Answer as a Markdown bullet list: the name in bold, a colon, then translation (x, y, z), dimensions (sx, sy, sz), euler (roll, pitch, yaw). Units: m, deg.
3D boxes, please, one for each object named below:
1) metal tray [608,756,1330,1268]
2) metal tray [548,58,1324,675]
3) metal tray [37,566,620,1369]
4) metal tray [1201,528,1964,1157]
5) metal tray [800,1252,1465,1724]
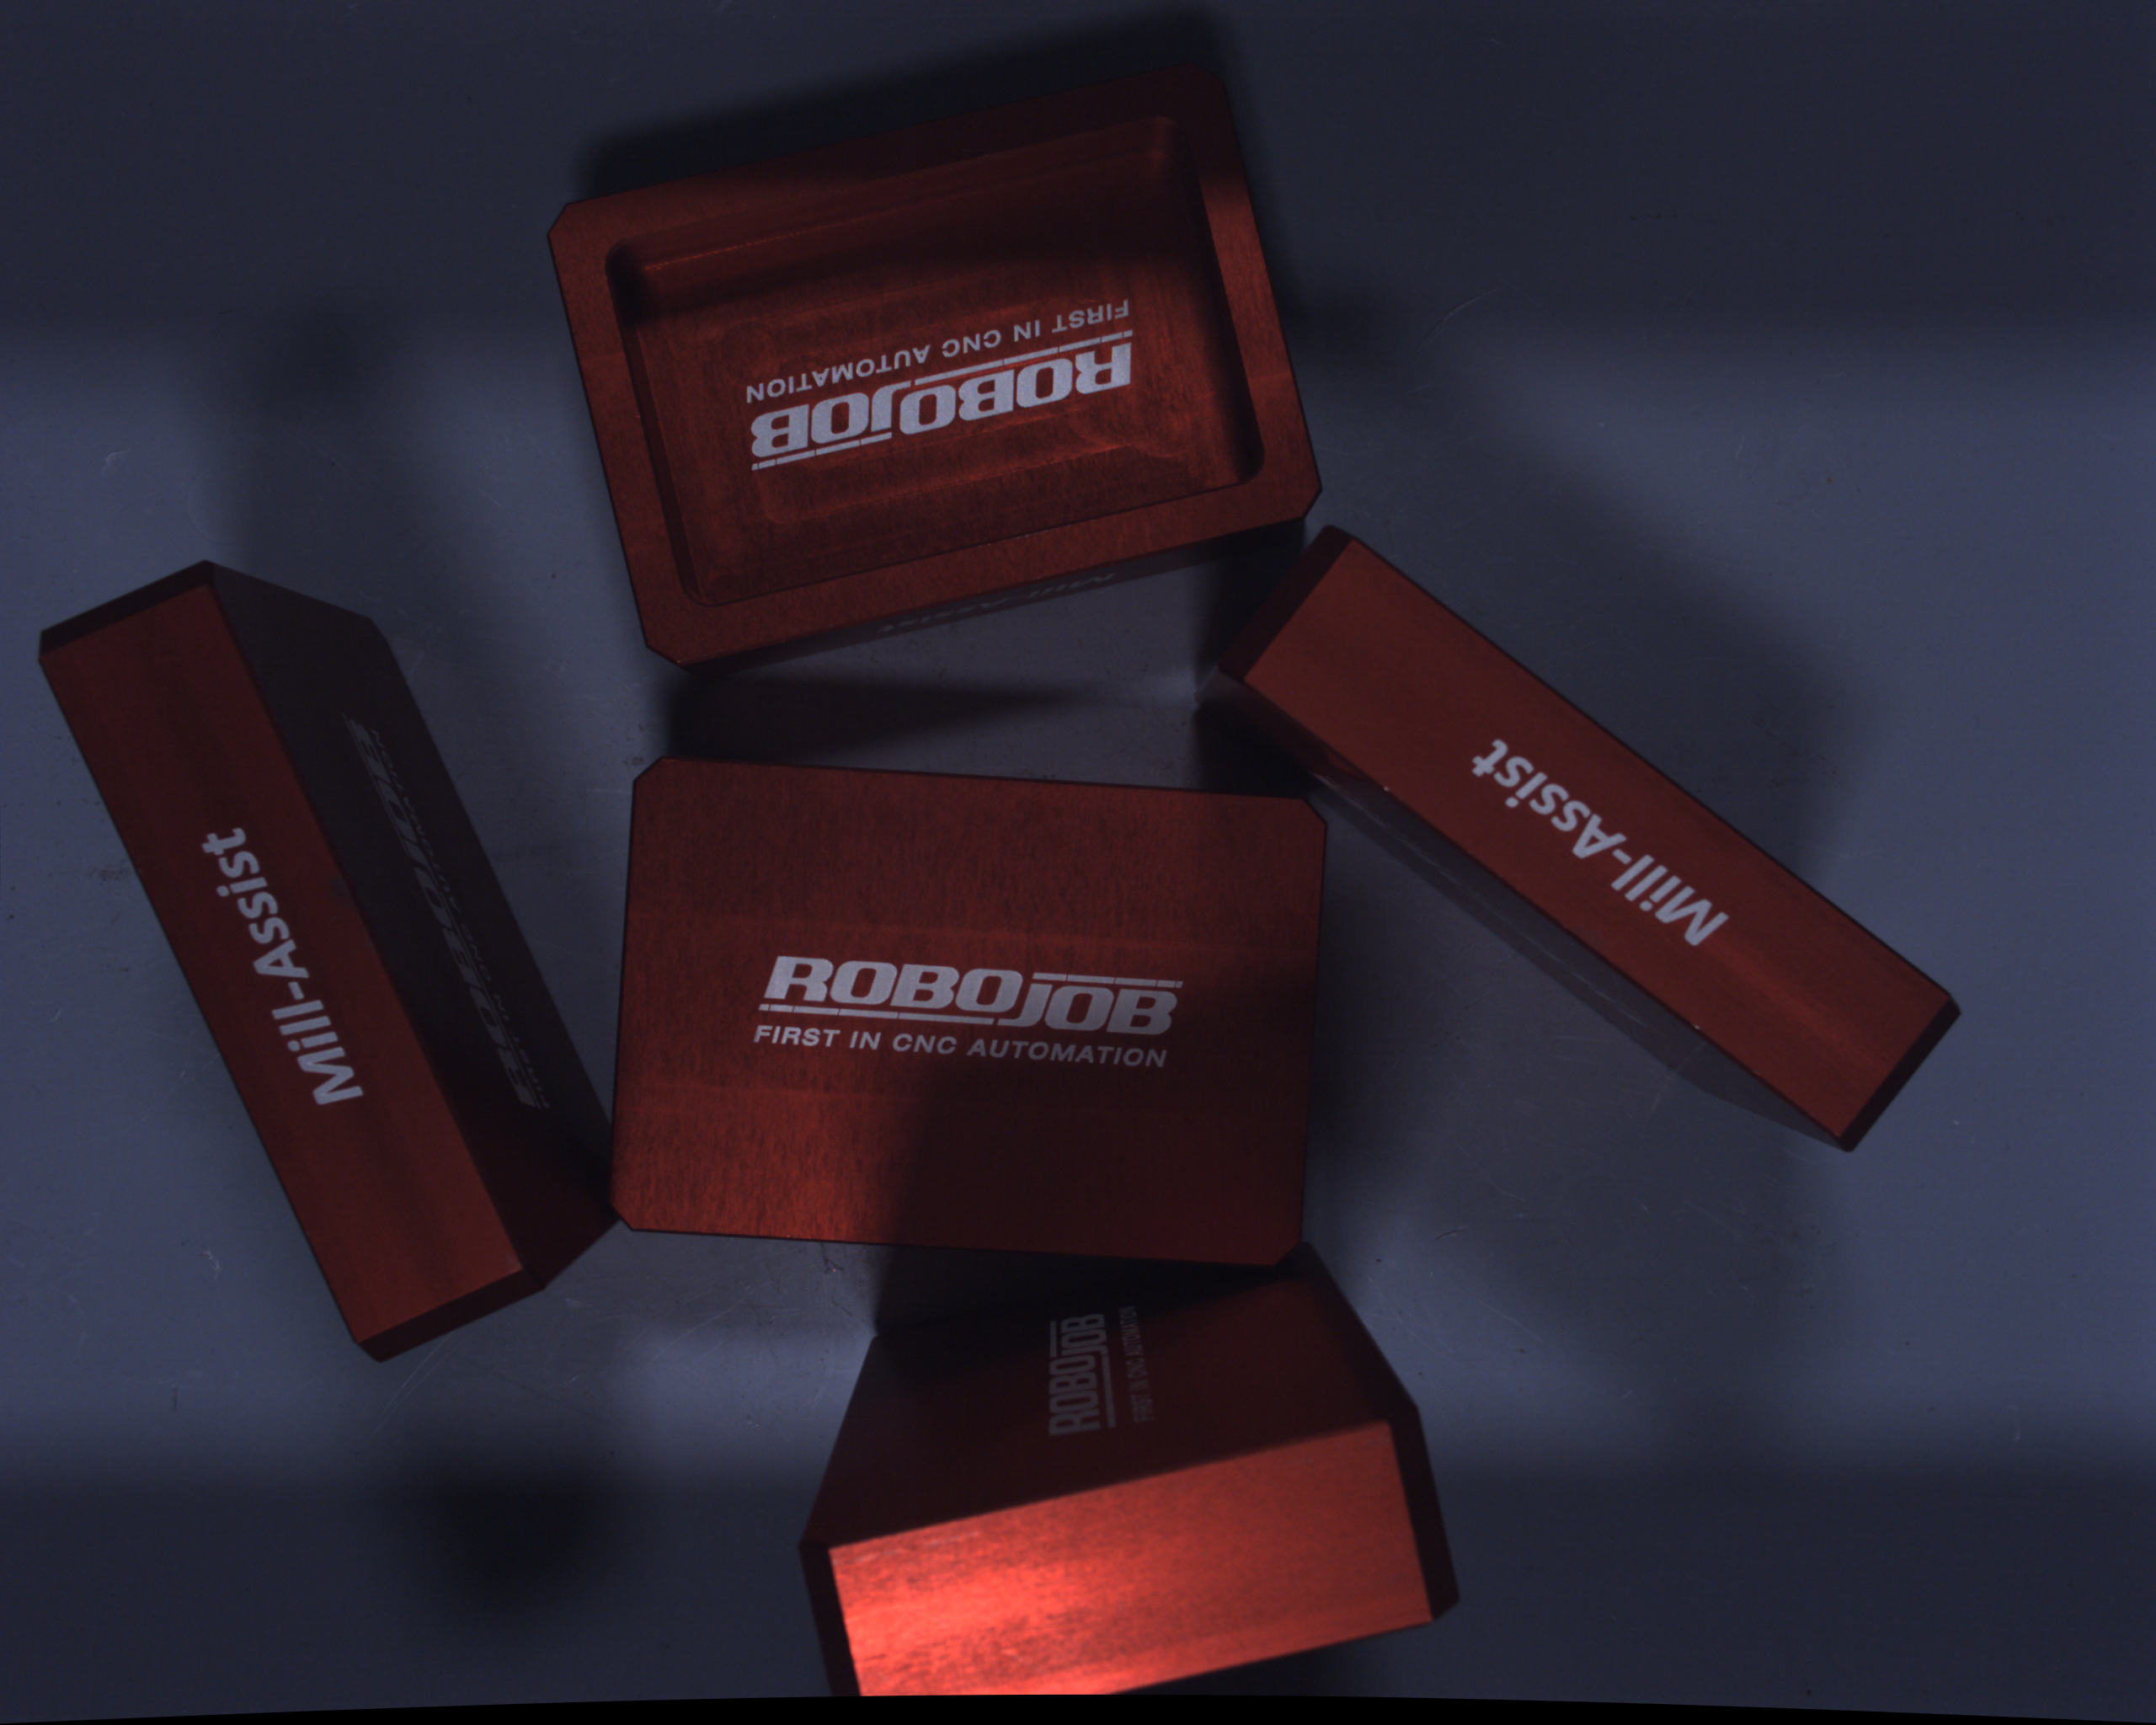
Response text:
- **metal tray**: translation (-0.020, 0.028, 0.406), dimensions (0.131, 0.030, 0.089), euler (3, 90, -1)
- **metal tray**: translation (-0.027, -0.095, 0.407), dimensions (0.131, 0.030, 0.089), euler (-13, 90, -1)
- **metal tray**: translation (-0.127, 0.017, 0.375), dimensions (0.030, 0.090, 0.129), euler (-25, 91, -1)
- **metal tray**: translation (0.084, -0.004, 0.377), dimensions (0.130, 0.090, 0.030), euler (38, 91, -1)
- **metal tray**: translation (0.007, 0.101, 0.356), dimensions (0.091, 0.130, 0.030), euler (-12, 91, -1)
